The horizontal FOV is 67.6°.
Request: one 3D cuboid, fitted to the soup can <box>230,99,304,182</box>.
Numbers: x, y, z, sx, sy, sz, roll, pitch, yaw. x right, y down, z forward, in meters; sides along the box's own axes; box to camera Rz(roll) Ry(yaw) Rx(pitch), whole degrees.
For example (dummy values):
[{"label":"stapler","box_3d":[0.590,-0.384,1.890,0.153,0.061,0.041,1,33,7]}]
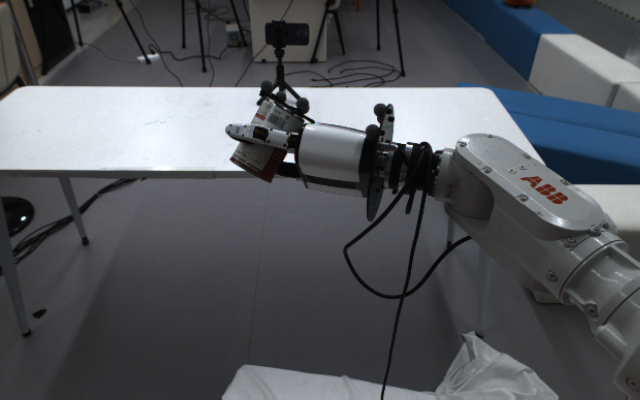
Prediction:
[{"label":"soup can","box_3d":[-0.076,-0.084,0.688,0.067,0.101,0.067,31,1,-1]}]
